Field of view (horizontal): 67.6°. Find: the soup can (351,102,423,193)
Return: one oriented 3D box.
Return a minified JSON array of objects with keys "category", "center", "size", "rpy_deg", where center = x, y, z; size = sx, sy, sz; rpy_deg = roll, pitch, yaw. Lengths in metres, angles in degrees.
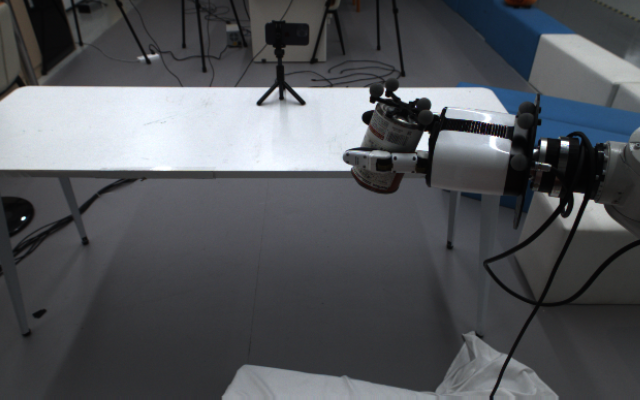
[{"category":"soup can","center":[0.088,-0.068,0.617],"size":[0.067,0.101,0.067],"rpy_deg":[13,35,-9]}]
